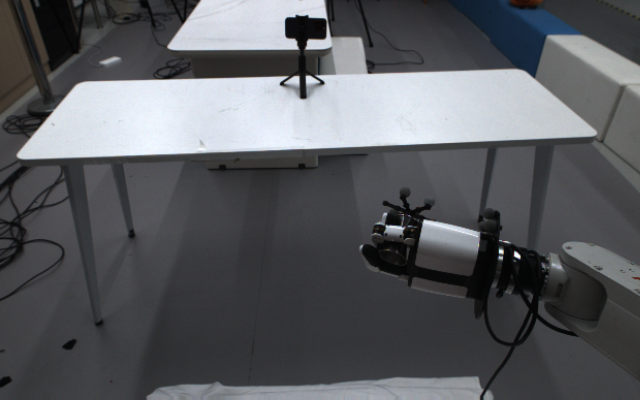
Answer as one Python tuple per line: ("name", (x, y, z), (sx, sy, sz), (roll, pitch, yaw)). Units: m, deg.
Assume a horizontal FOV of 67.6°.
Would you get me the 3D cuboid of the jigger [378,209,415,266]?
("jigger", (0.122, 0.056, 0.736), (0.043, 0.043, 0.071), (16, 58, 19))
